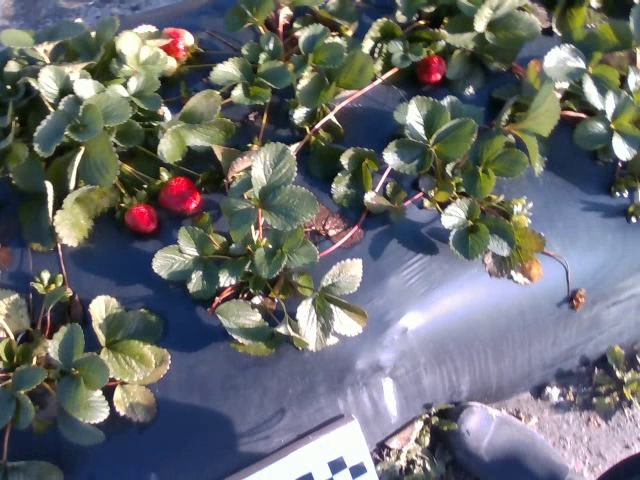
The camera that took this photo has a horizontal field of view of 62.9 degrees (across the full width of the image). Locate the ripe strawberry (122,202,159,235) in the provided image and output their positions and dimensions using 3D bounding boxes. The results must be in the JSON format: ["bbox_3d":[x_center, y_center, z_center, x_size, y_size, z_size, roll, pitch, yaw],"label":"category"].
[{"bbox_3d":[-0.214,-0.024,0.621,0.051,0.043,0.036,33,12,25],"label":"ripe strawberry"}]

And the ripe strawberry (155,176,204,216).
[{"bbox_3d":[-0.169,-0.055,0.633,0.057,0.052,0.046,40,8,27],"label":"ripe strawberry"}]
